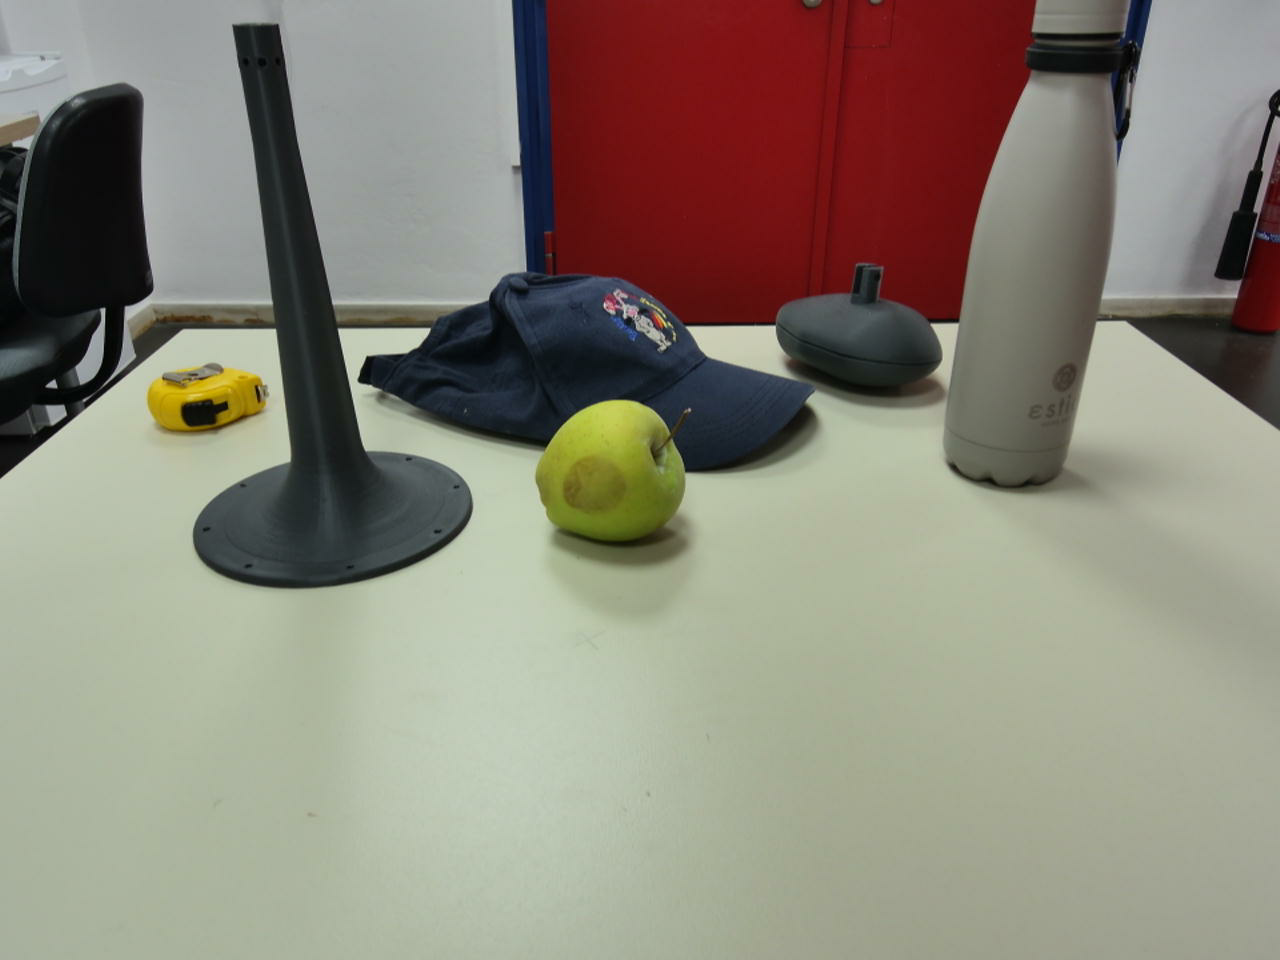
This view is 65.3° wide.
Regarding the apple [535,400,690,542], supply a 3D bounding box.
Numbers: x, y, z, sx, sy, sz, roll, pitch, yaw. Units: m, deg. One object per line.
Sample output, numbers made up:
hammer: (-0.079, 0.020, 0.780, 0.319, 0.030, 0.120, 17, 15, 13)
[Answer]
apple: (-0.014, -0.005, 0.533, 0.077, 0.075, 0.072, 23, 34, 38)
